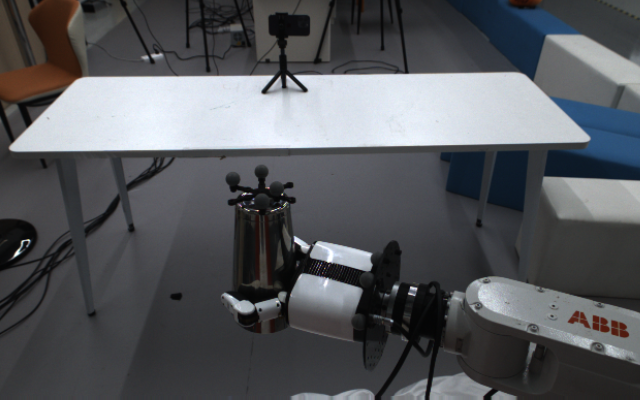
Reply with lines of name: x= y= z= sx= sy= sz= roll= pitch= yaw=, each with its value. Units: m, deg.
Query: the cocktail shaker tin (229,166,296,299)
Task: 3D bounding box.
cocktail shaker tin: x=-0.070 y=0.074 z=0.618 sx=0.093 sy=0.170 sz=0.093 roll=1 pitch=28 yaw=-1
